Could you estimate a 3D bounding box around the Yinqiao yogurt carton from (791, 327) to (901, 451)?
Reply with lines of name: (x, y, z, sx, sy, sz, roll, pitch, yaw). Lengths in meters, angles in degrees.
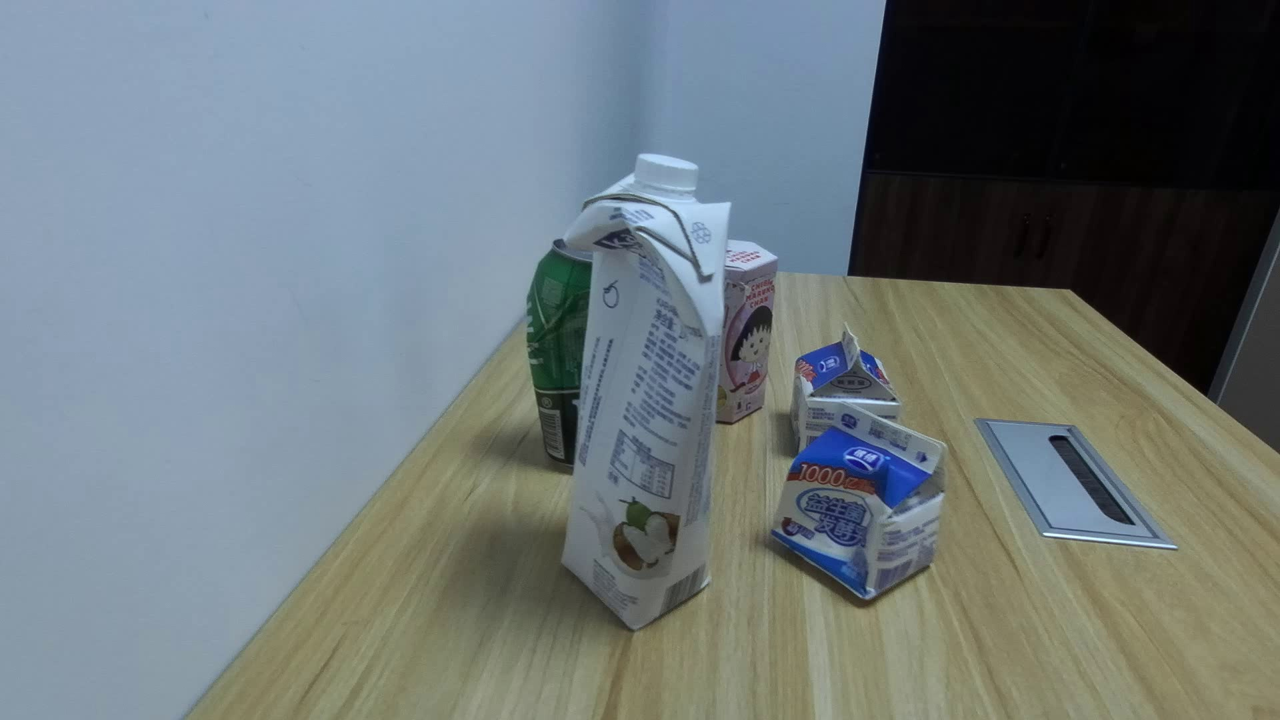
Yinqiao yogurt carton: (0.160, 0.022, 0.550, 0.073, 0.092, 0.075, 3, 24, 6)

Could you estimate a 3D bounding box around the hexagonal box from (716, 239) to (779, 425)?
hexagonal box: (0.066, -0.025, 0.591, 0.083, 0.136, 0.091, 20, 30, 37)

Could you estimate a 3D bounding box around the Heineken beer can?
Heineken beer can: (-0.039, -0.004, 0.514, 0.077, 0.164, 0.066, 13, 28, 16)

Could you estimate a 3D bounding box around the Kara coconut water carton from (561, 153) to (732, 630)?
Kara coconut water carton: (0.002, 0.019, 0.370, 0.069, 0.238, 0.114, -16, 28, -36)

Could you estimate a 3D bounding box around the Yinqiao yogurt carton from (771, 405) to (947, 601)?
Yinqiao yogurt carton: (0.134, 0.078, 0.418, 0.071, 0.094, 0.077, -11, 27, -37)
